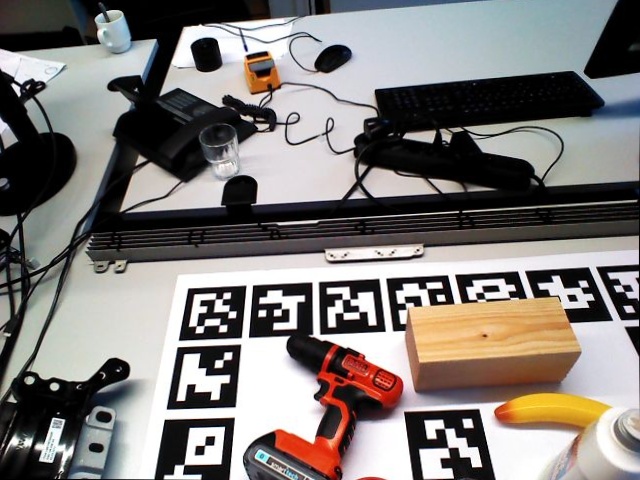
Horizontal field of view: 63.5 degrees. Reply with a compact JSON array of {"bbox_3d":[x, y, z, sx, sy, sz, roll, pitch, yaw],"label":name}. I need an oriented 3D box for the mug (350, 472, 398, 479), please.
[{"bbox_3d":[0.053,0.322,0.566,0.093,0.082,0.116,34,63,29],"label":"mug"}]

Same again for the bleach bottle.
[{"bbox_3d":[0.278,0.227,0.511,0.068,0.251,0.102,20,52,23],"label":"bleach bottle"}]

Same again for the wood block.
[{"bbox_3d":[0.239,0.142,0.703,0.207,0.091,0.089,-4,49,3],"label":"wood block"}]

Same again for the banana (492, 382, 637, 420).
[{"bbox_3d":[0.322,0.218,0.653,0.198,0.039,0.074,10,64,13],"label":"banana"}]

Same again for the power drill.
[{"bbox_3d":[0.007,0.230,0.680,0.185,0.057,0.185,21,53,20],"label":"power drill"}]

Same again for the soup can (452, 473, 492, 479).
[{"bbox_3d":[0.160,0.302,0.550,0.068,0.102,0.067,-3,44,2],"label":"soup can"}]
